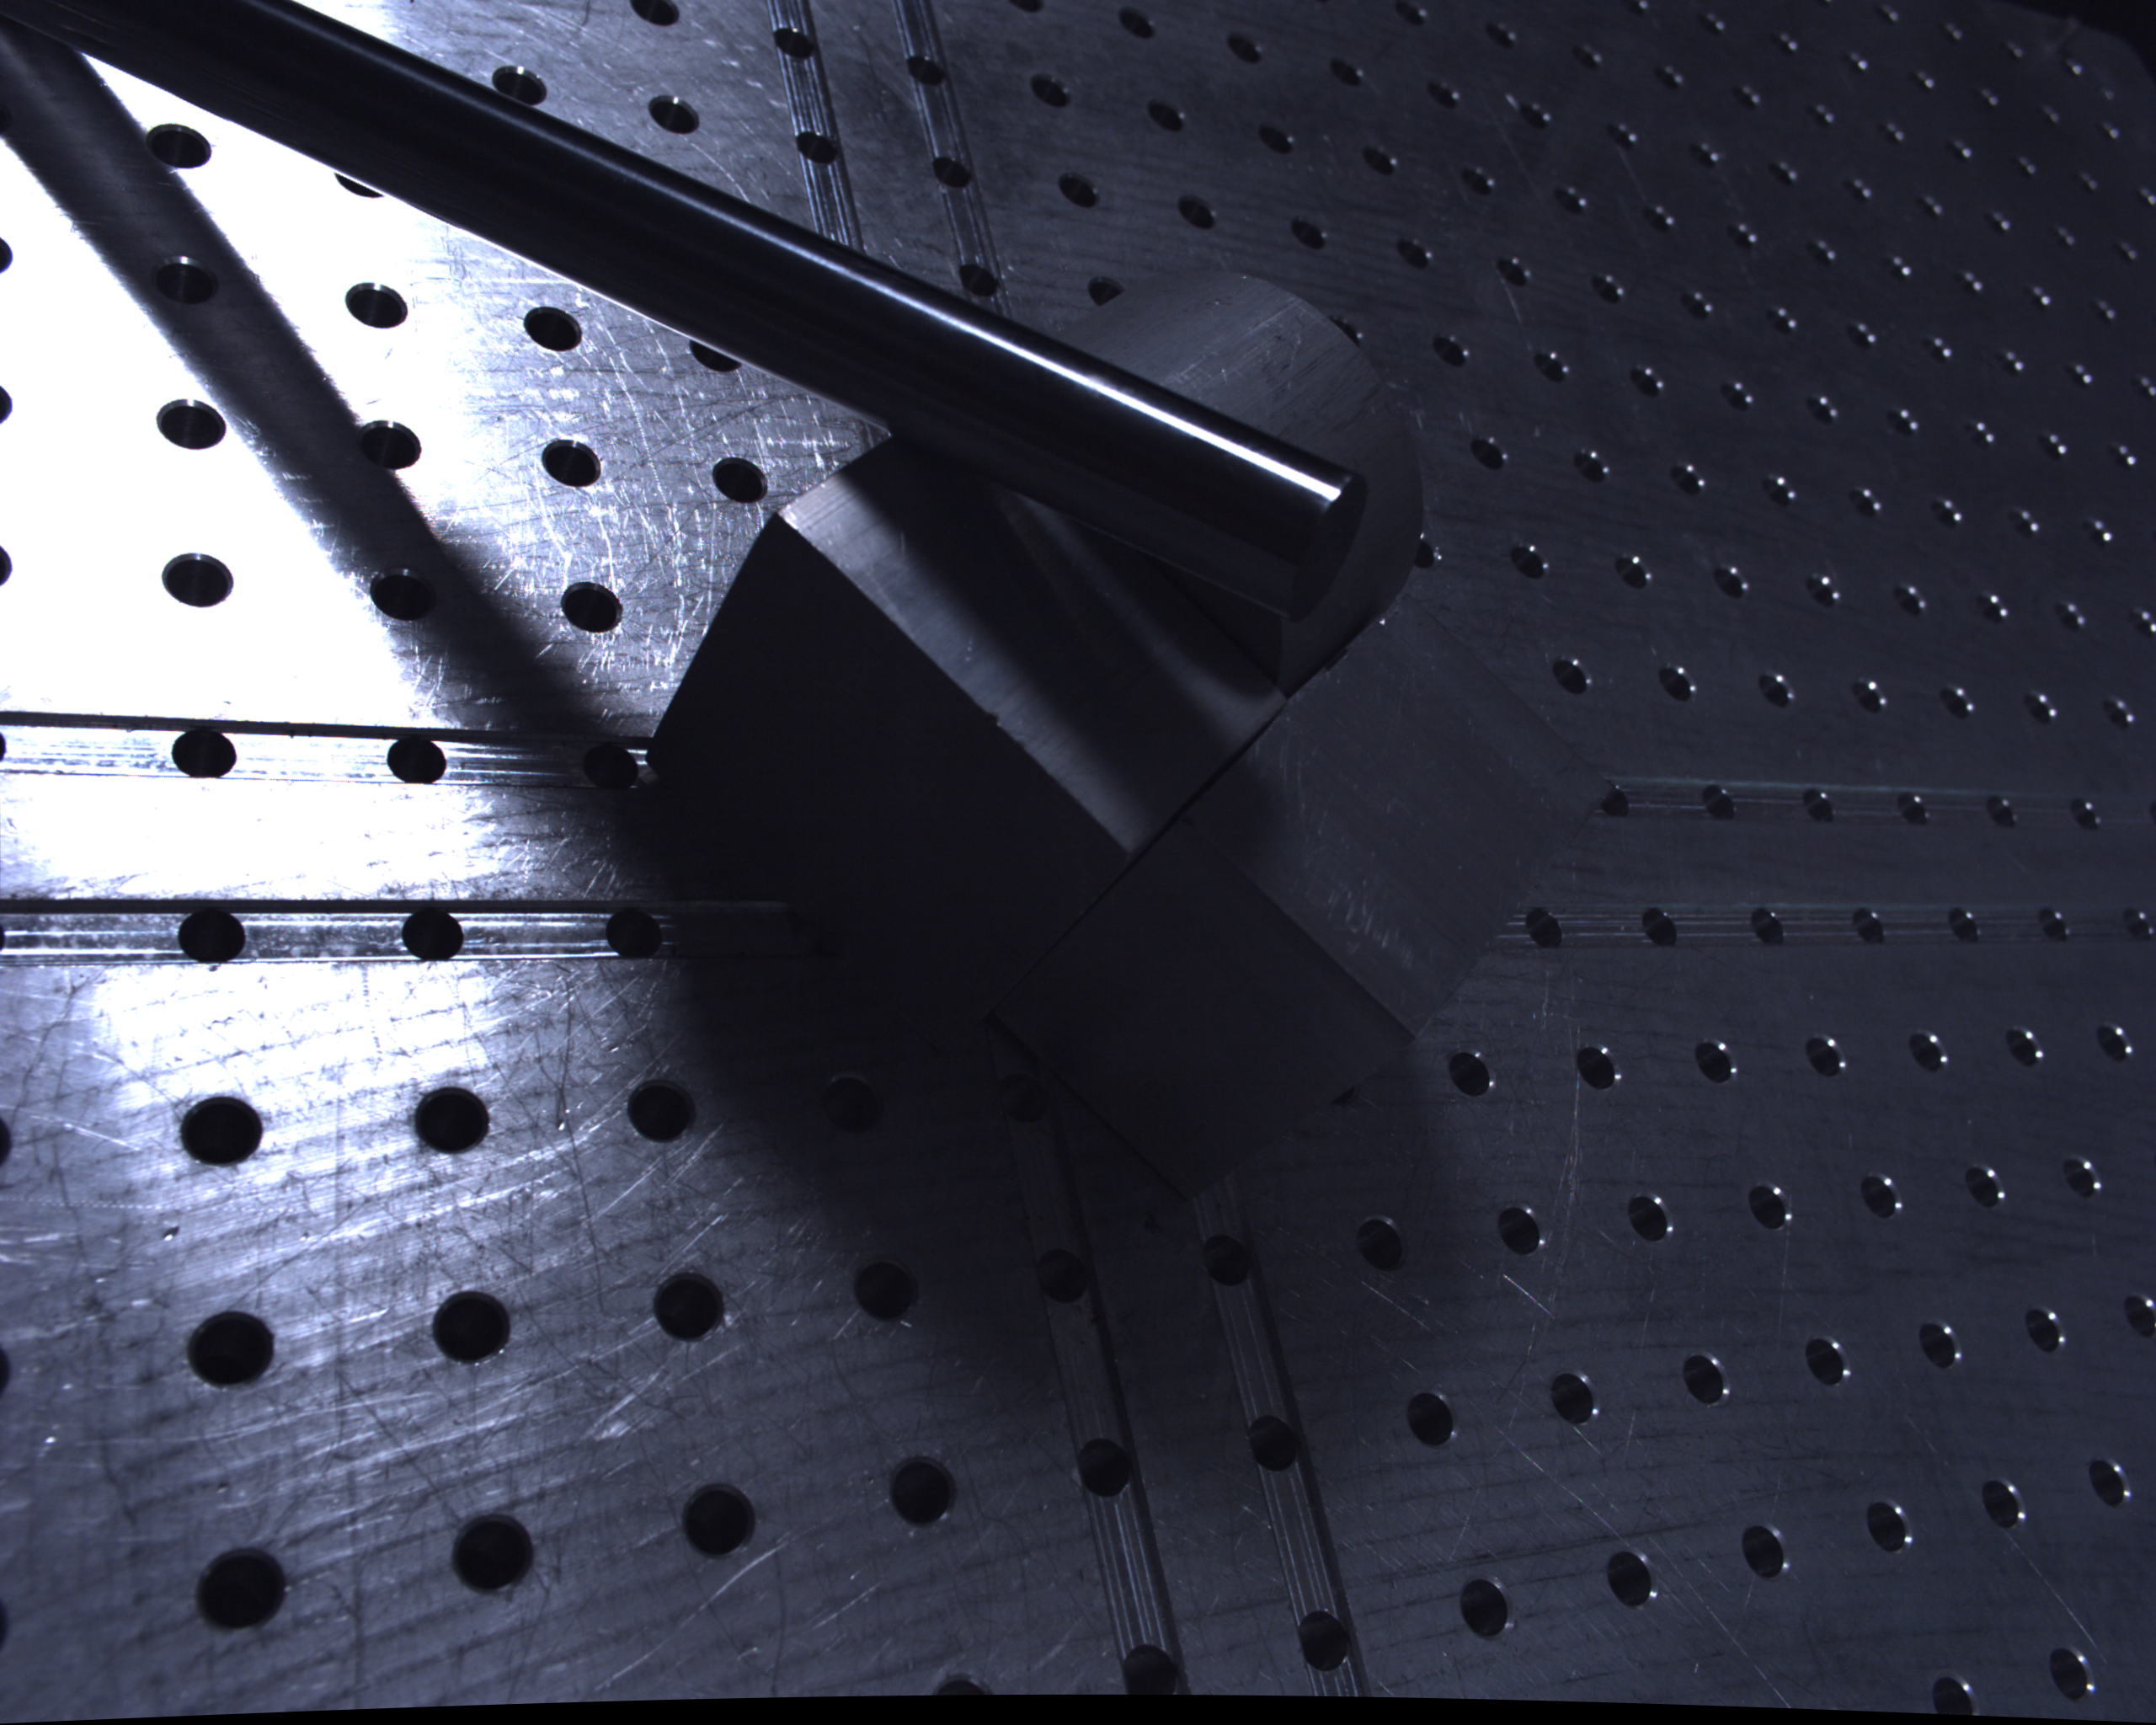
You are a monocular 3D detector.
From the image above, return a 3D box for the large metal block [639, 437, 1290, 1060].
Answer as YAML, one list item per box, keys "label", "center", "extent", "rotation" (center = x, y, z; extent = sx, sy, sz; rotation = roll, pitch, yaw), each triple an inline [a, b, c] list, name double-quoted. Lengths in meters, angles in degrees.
- label: "large metal block"
  center: [-0.023, -0.023, 0.377]
  extent: [0.080, 0.080, 0.050]
  rotation: [44, 51, 2]

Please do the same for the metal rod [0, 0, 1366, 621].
- label: "metal rod"
  center: [-0.090, -0.115, 0.364]
  extent: [0.301, 0.025, 0.025]
  rotation: [27, 49, 16]

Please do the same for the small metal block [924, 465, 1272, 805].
- label: "small metal block"
  center: [0.005, -0.049, 0.443]
  extent: [0.050, 0.025, 0.050]
  rotation: [41, 51, -1]

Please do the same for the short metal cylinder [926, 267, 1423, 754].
- label: "short metal cylinder"
  center: [0.017, -0.064, 0.389]
  extent: [0.080, 0.080, 0.050]
  rotation: [45, 51, 2]

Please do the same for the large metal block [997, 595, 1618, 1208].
- label: "large metal block"
  center: [0.042, 0.008, 0.390]
  extent: [0.050, 0.080, 0.080]
  rotation: [45, 51, 2]
